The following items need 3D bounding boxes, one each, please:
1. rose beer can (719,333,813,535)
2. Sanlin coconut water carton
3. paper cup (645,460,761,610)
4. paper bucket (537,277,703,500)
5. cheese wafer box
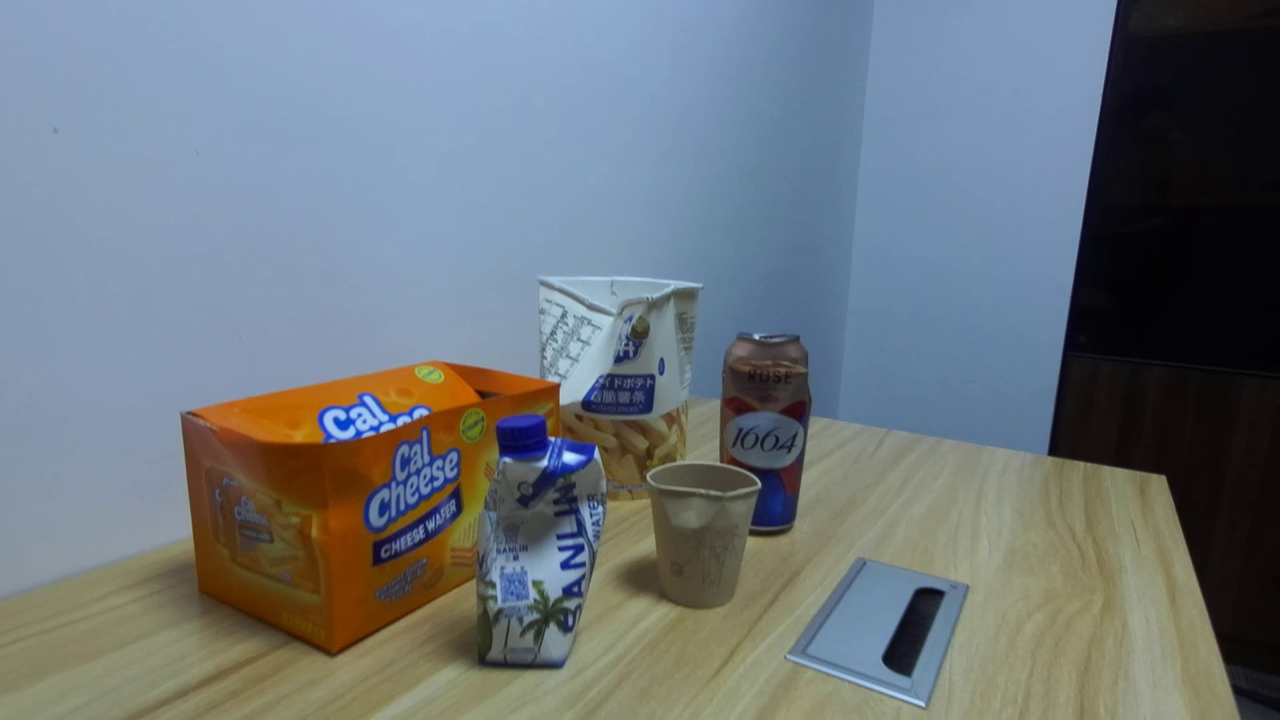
[{"bbox_3d":[0.106,0.060,0.605,0.075,0.167,0.065,4,10,20],"label":"rose beer can"},{"bbox_3d":[-0.057,0.106,0.411,0.068,0.144,0.057,9,17,0],"label":"Sanlin coconut water carton"},{"bbox_3d":[0.043,0.122,0.493,0.074,0.081,0.068,-3,12,-25],"label":"paper cup"},{"bbox_3d":[-0.033,0.021,0.710,0.162,0.202,0.169,5,9,21],"label":"paper bucket"},{"bbox_3d":[-0.180,0.089,0.518,0.151,0.132,0.231,10,12,29],"label":"cheese wafer box"}]
